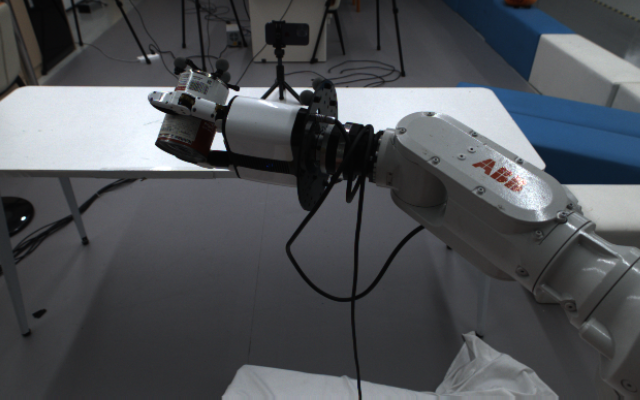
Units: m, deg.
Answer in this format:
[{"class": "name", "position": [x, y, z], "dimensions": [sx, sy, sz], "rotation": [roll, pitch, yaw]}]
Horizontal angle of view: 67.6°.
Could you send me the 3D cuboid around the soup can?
[{"class": "soup can", "position": [-0.165, -0.107, 0.629], "dimensions": [0.067, 0.067, 0.101], "rotation": [12, 77, 14]}]
